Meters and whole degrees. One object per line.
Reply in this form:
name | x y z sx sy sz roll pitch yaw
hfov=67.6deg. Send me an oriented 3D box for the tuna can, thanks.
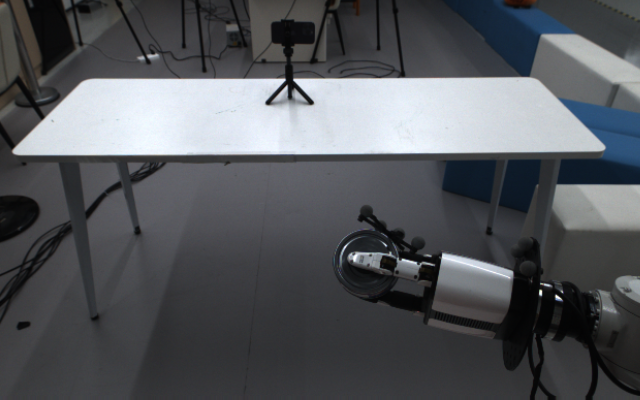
tuna can | 0.064 0.087 0.616 0.085 0.034 0.085 -4 69 10
